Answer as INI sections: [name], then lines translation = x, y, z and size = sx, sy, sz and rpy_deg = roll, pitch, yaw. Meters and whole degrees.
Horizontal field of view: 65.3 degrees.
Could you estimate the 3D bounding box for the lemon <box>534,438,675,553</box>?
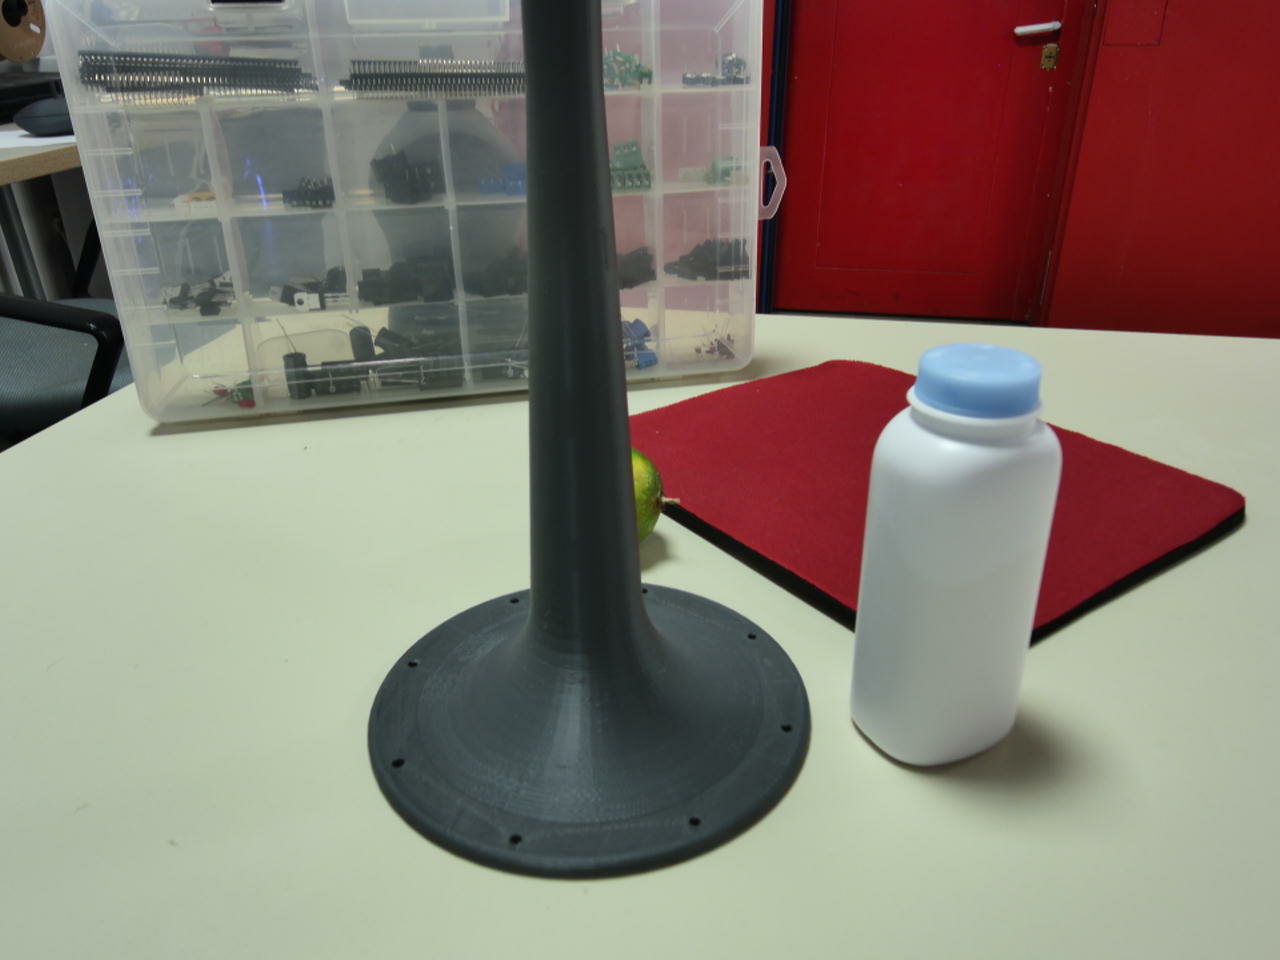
[lemon]
translation = -0.018, 0.007, 0.439
size = 0.054, 0.050, 0.055
rpy_deg = -13, 27, -24
